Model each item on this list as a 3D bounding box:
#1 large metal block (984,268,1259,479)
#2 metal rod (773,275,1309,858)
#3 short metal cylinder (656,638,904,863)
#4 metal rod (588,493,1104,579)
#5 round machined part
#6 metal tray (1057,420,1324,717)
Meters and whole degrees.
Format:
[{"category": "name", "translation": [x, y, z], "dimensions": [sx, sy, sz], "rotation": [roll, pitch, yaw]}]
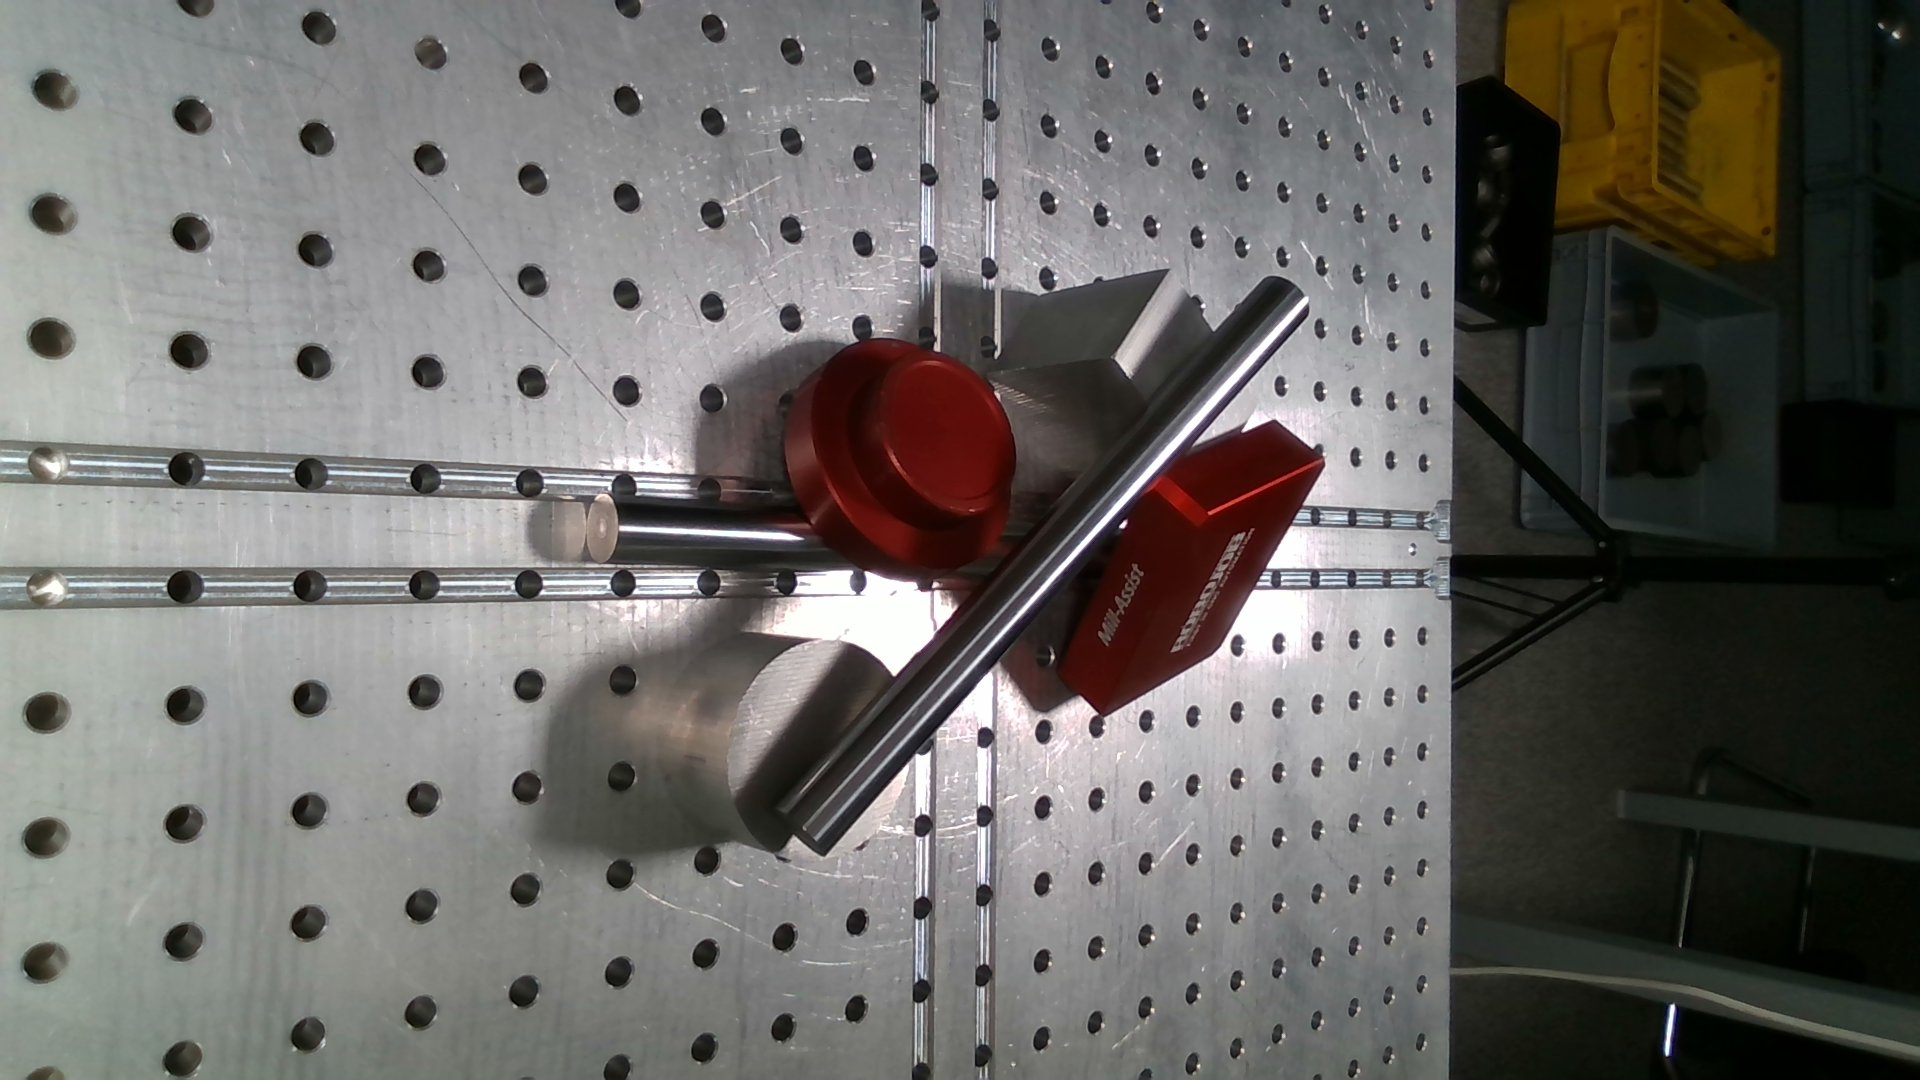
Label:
[{"category": "large metal block", "translation": [0.071, -0.068, 0.612], "dimensions": [0.080, 0.080, 0.050], "rotation": [49, 61, -29]}, {"category": "metal rod", "translation": [0.041, 0.000, 0.528], "dimensions": [0.300, 0.025, 0.025], "rotation": [-47, 118, -21]}, {"category": "short metal cylinder", "translation": [-0.066, 0.076, 0.515], "dimensions": [0.080, 0.050, 0.080], "rotation": [0, 90, -40]}, {"category": "metal rod", "translation": [-0.010, 0.002, 0.578], "dimensions": [0.300, 0.025, 0.025], "rotation": [3, 88, -40]}, {"category": "round machined part", "translation": [-0.017, -0.035, 0.540], "dimensions": [0.098, 0.042, 0.098], "rotation": [17, 62, -35]}, {"category": "metal tray", "translation": [0.102, 0.015, 0.618], "dimensions": [0.090, 0.030, 0.130], "rotation": [-23, 146, -38]}]
